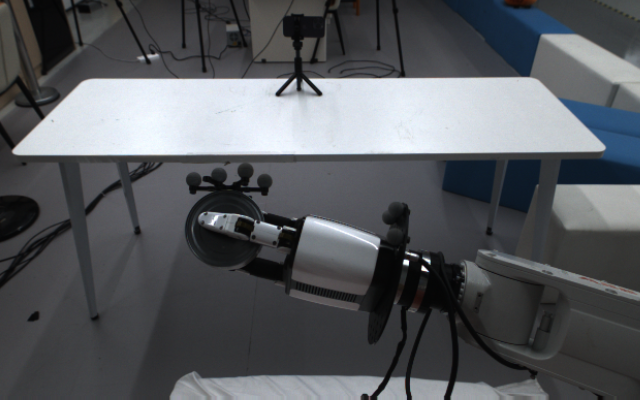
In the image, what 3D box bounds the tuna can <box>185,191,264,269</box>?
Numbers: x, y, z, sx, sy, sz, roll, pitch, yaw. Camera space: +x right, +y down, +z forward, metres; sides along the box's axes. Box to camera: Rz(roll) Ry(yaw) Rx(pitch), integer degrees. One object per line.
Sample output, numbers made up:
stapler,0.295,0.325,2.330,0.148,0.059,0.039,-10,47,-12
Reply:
tuna can,-0.100,0.038,0.532,0.085,0.034,0.085,1,73,-5
